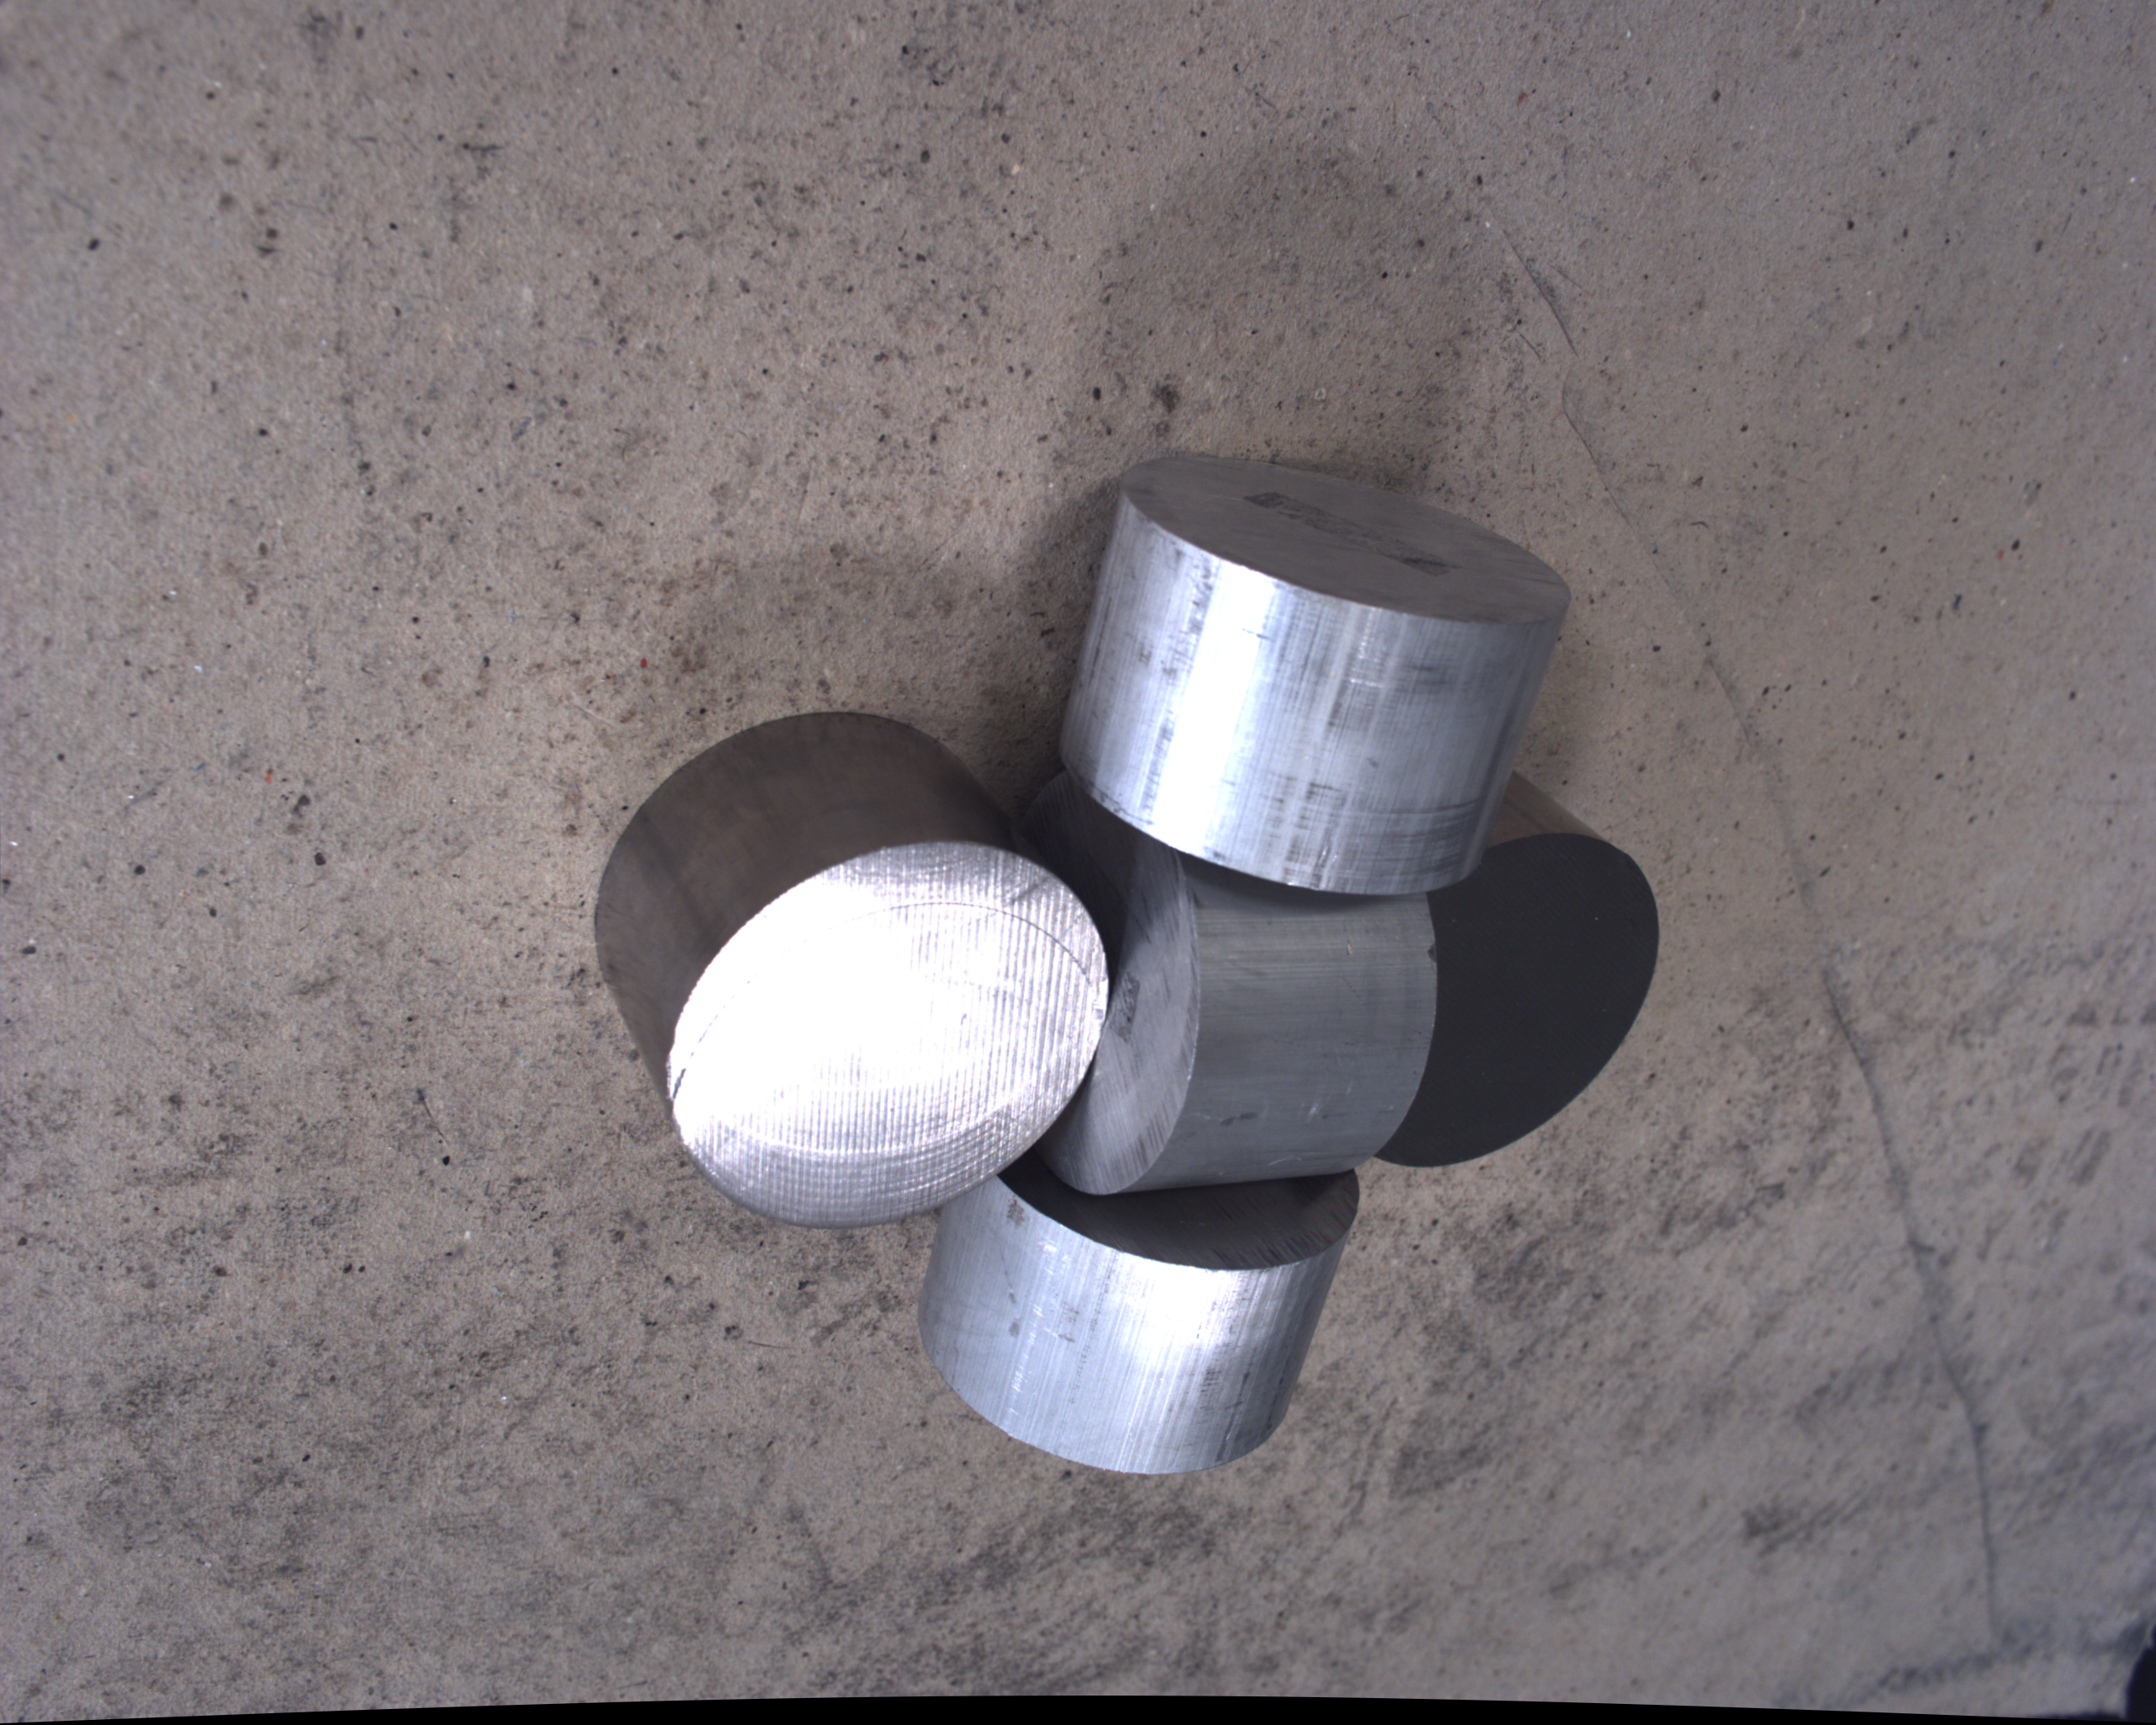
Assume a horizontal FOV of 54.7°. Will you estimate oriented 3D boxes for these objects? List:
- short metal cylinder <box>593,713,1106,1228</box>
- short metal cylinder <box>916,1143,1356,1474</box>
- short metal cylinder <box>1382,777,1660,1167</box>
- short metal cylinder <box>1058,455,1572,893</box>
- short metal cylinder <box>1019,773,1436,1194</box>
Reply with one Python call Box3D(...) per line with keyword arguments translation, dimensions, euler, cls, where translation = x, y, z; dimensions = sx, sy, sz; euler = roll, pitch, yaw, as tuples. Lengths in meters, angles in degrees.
Box3D(translation=(-0.042, 0.019, 0.381), dimensions=(0.081, 0.050, 0.079), euler=(-14, 124, -22), cls="short metal cylinder")
Box3D(translation=(0.011, 0.078, 0.428), dimensions=(0.081, 0.080, 0.050), euler=(0, 118, -28), cls="short metal cylinder")
Box3D(translation=(0.075, 0.017, 0.443), dimensions=(0.081, 0.050, 0.079), euler=(-14, 125, -21), cls="short metal cylinder")
Box3D(translation=(0.041, -0.036, 0.373), dimensions=(0.081, 0.080, 0.050), euler=(0, 119, -28), cls="short metal cylinder")
Box3D(translation=(0.023, 0.022, 0.399), dimensions=(0.050, 0.080, 0.079), euler=(0, 118, -29), cls="short metal cylinder")
